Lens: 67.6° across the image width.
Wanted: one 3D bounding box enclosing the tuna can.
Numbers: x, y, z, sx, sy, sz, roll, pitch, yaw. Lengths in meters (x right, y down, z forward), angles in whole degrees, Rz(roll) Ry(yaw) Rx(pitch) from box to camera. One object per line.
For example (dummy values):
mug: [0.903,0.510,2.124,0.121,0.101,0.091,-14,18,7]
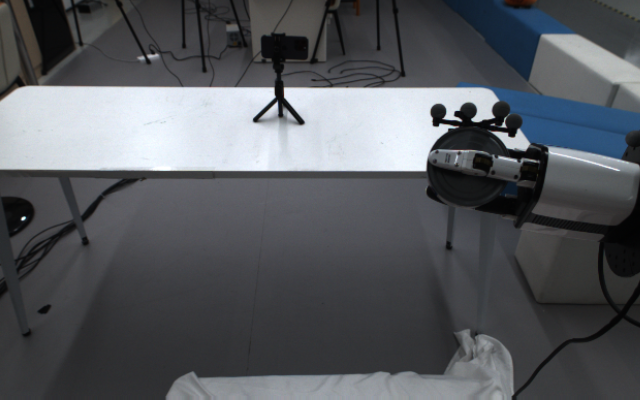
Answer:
tuna can: [0.159,-0.040,0.522,0.085,0.085,0.034,10,-6,11]
